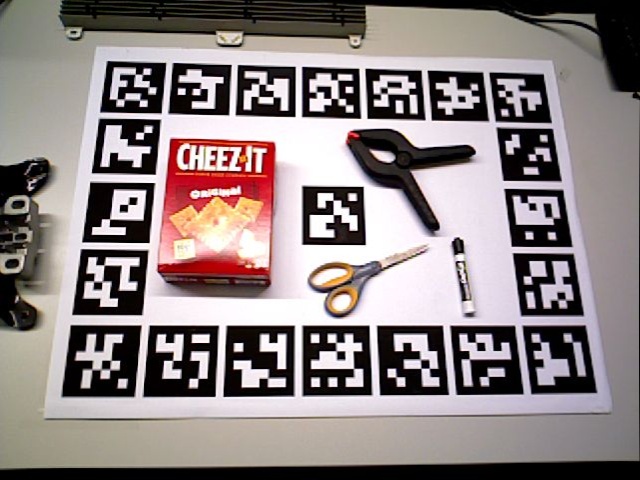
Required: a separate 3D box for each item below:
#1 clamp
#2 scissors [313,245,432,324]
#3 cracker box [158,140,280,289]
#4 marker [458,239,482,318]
[{"bbox_3d":[0.133,-0.124,0.885,0.202,0.037,0.163,30,71,7],"label":"clamp"},{"bbox_3d":[0.085,0.050,0.819,0.200,0.016,0.087,-27,73,-13],"label":"scissors"},{"bbox_3d":[-0.145,-0.039,0.812,0.163,0.073,0.212,2,71,-2],"label":"cracker box"},{"bbox_3d":[0.226,0.057,0.823,0.019,0.020,0.120,-3,71,-4],"label":"marker"}]
